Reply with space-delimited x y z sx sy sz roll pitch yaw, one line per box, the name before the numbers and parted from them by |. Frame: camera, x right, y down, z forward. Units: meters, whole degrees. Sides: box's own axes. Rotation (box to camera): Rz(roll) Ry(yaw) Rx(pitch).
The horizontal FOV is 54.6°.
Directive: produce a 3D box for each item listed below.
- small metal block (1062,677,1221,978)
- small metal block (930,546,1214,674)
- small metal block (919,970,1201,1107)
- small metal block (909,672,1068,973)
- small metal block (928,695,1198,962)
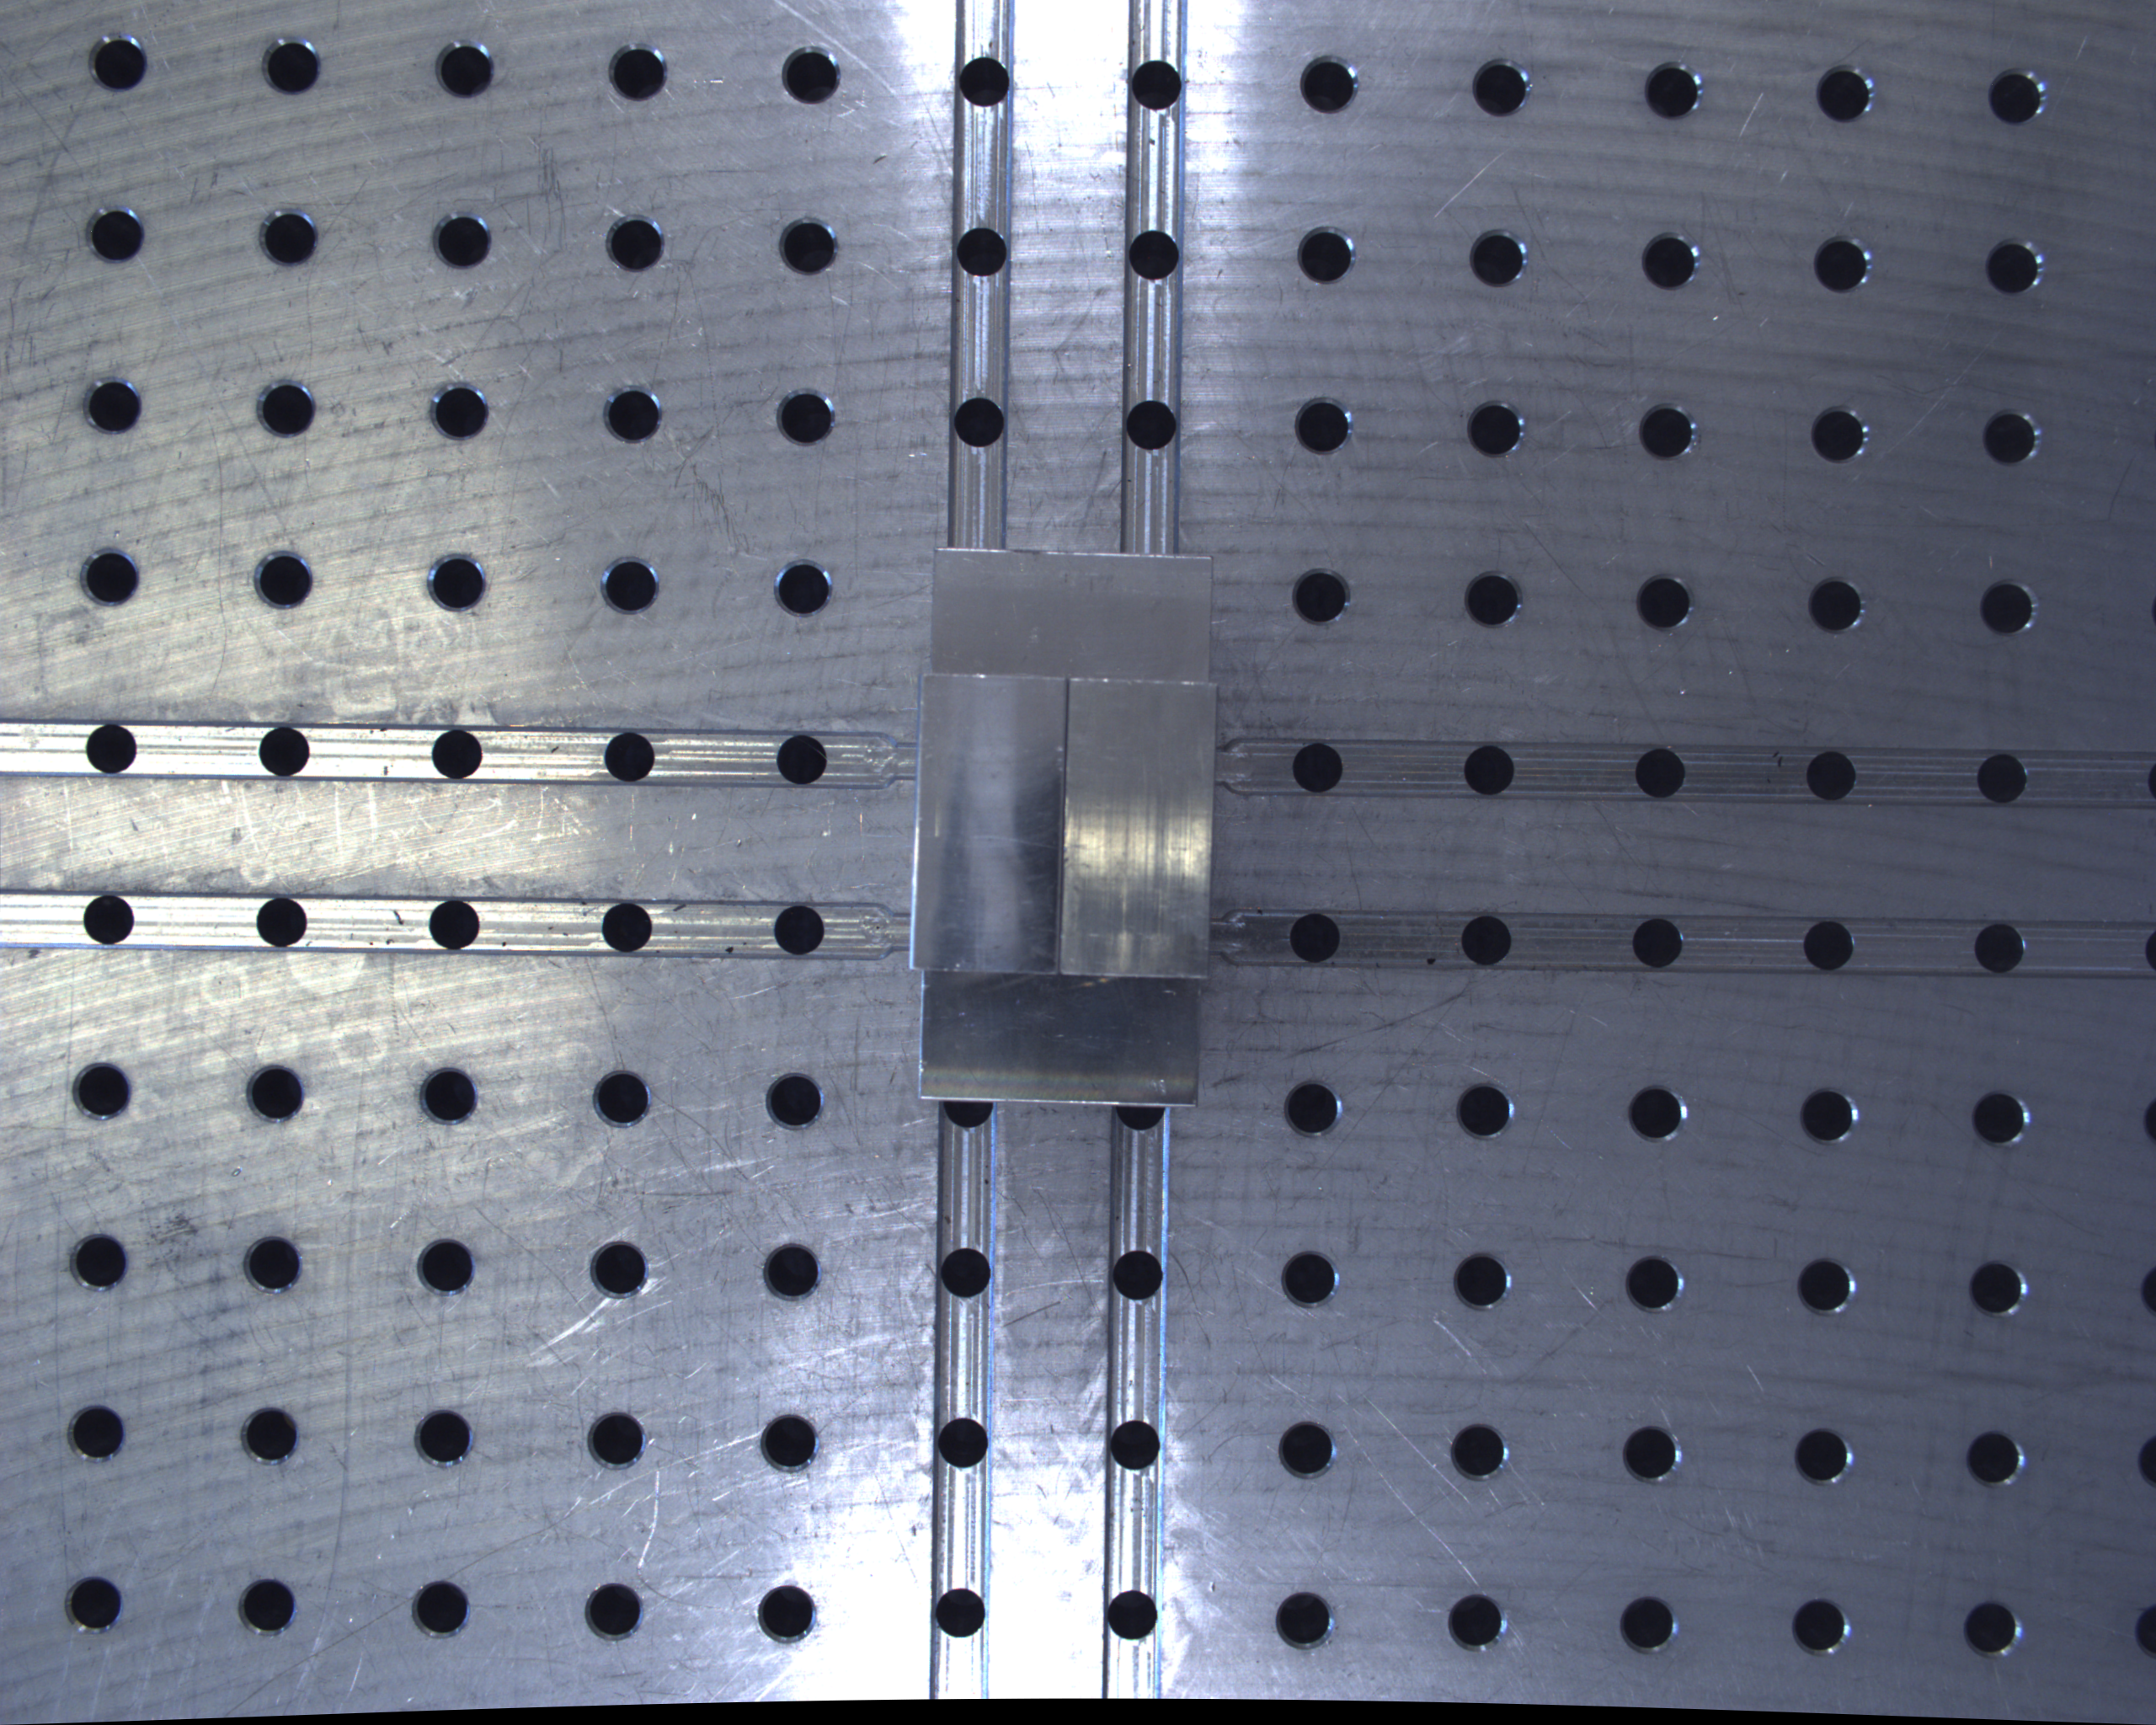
small metal block | 0.011 -0.006 0.376 0.025 0.050 0.050 2 90 1
small metal block | -0.001 -0.044 0.400 0.050 0.050 0.025 2 90 0
small metal block | -0.003 0.031 0.400 0.050 0.050 0.025 2 90 0
small metal block | -0.015 -0.007 0.375 0.025 0.050 0.050 2 90 0
small metal block | -0.003 -0.007 0.413 0.050 0.025 0.050 2 90 1
